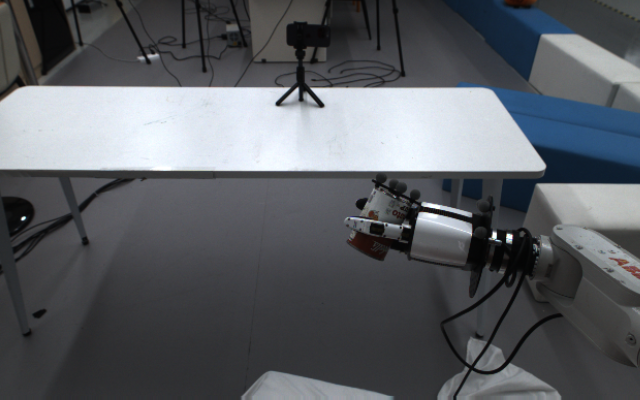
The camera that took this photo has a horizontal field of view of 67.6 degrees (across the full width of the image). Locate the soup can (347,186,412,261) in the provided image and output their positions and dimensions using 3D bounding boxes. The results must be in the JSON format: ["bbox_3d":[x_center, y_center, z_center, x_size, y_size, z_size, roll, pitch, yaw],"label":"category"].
[{"bbox_3d":[0.095,0.037,0.768,0.067,0.101,0.067,26,5,-3],"label":"soup can"}]
